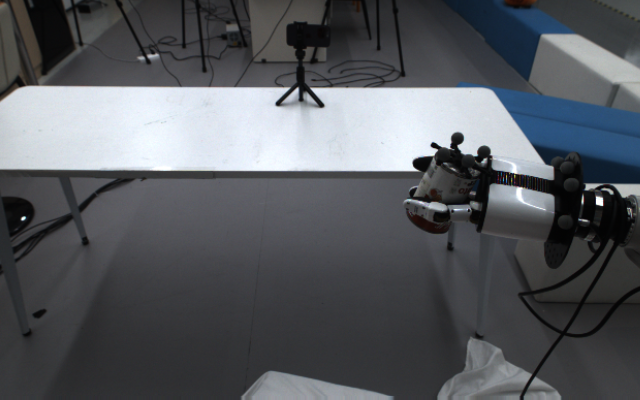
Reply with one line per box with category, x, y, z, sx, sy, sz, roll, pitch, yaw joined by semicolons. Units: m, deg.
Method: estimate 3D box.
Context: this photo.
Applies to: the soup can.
soup can;0.173;-0.012;0.678;0.067;0.101;0.067;14;35;-10
